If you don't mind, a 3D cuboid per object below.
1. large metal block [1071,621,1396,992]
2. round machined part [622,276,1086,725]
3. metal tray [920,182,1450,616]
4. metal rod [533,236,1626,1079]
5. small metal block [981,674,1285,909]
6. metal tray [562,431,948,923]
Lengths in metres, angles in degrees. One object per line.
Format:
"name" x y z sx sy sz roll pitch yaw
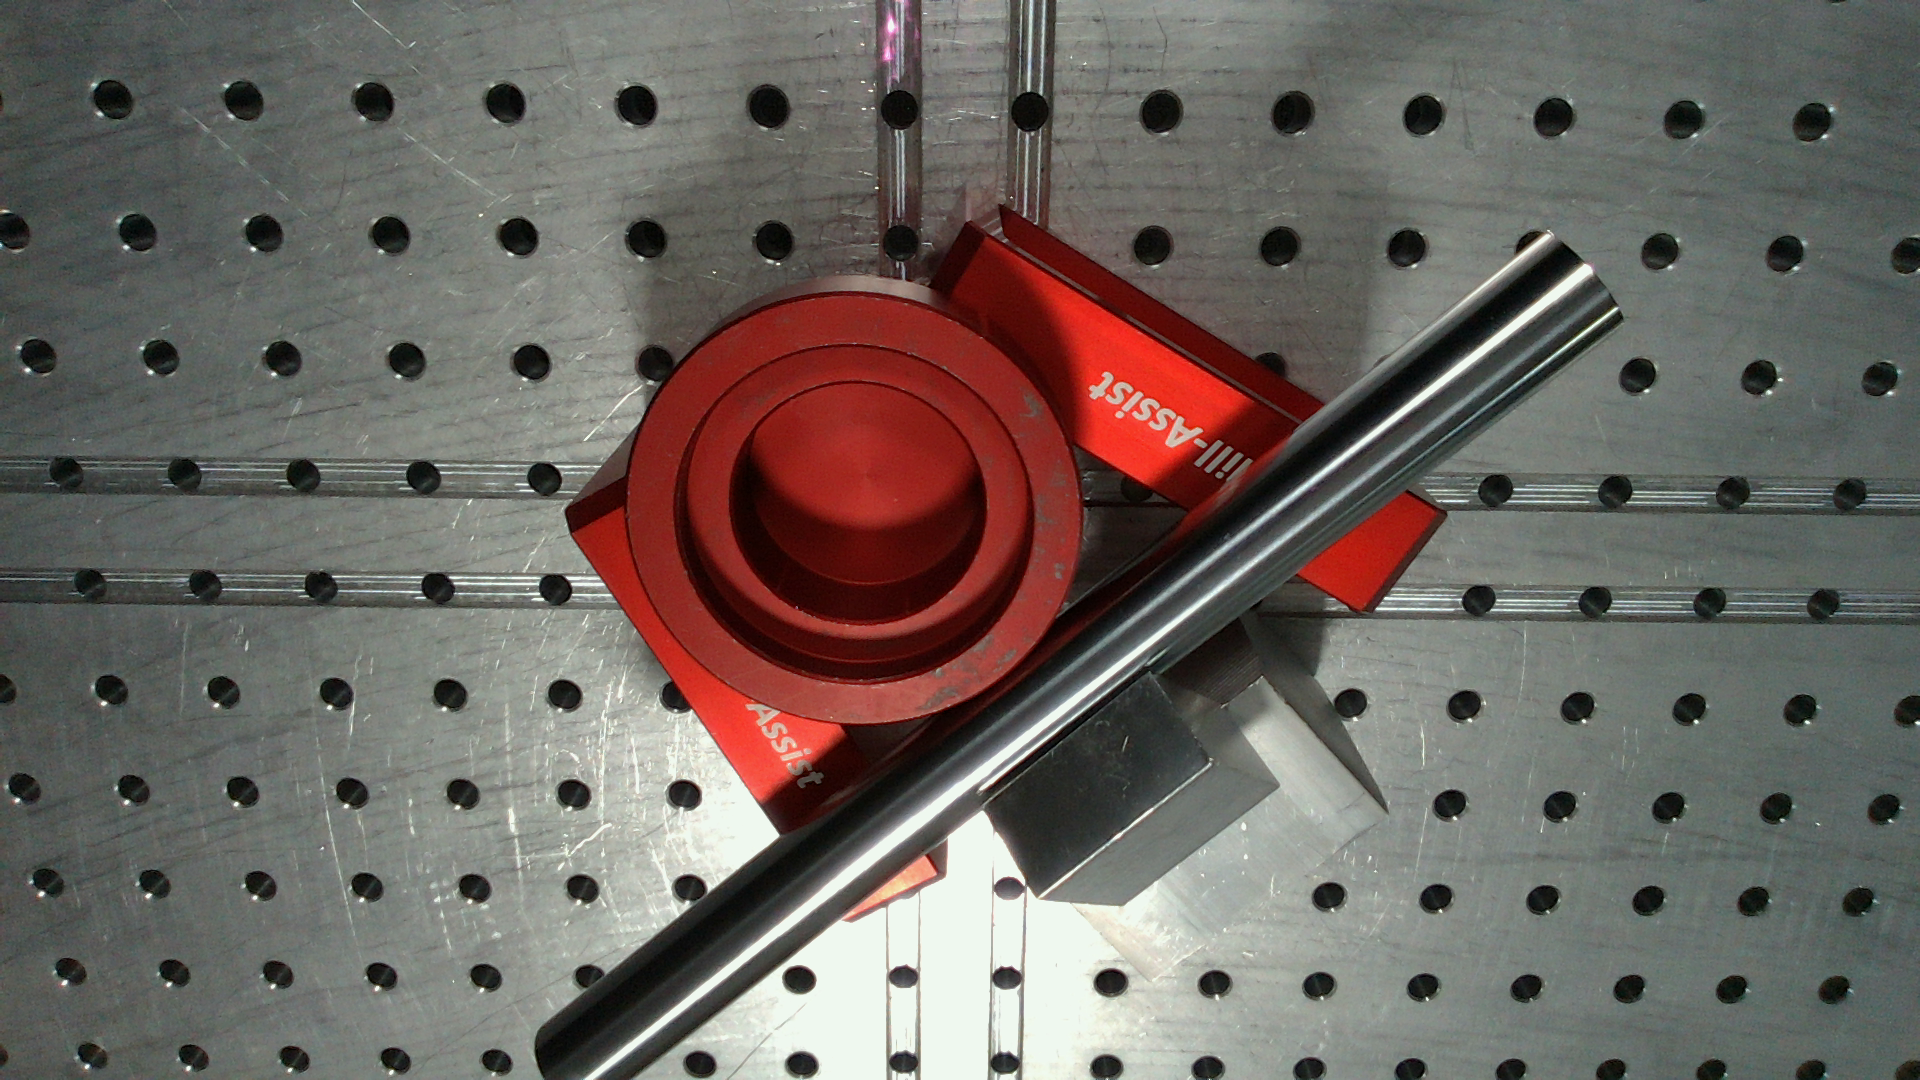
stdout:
"large metal block" 0.064 0.064 0.388 0.080 0.080 0.050 -40 105 13
"round machined part" -0.022 -0.011 0.310 0.098 0.042 0.098 0 110 0
"metal tray" 0.051 -0.039 0.347 0.130 0.090 0.030 30 108 -10
"metal rod" 0.015 0.040 0.315 0.300 0.025 0.025 -39 106 13
"small metal block" 0.041 0.060 0.318 0.050 0.050 0.025 -41 60 13
"metal tray" -0.047 0.025 0.371 0.030 0.090 0.130 -27 108 10
